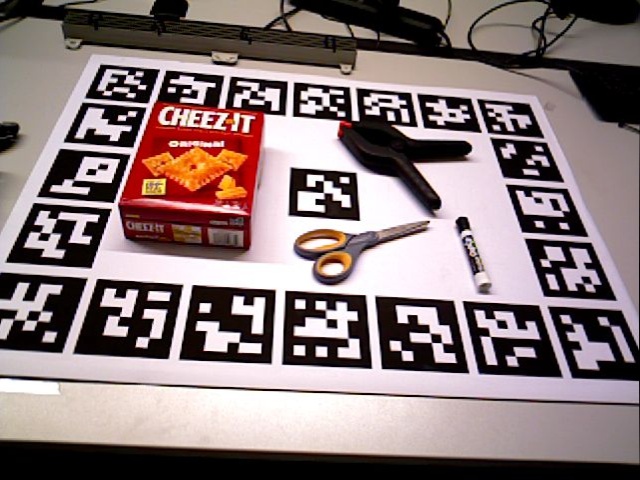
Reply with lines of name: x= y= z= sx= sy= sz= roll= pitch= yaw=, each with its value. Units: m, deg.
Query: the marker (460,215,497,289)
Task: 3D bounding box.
marker: x=0.209 y=0.013 z=0.723 sx=0.019 sy=0.020 sz=0.119 roll=0 pitch=49 yaw=-7

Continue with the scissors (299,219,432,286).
scissors: x=0.068 y=0.000 z=0.717 sx=0.199 sy=0.016 sz=0.087 roll=-18 pitch=53 yaw=-25

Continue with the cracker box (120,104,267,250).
cracker box: x=-0.160 y=-0.092 z=0.734 sx=0.163 sy=0.074 sz=0.210 roll=4 pitch=49 yaw=-4

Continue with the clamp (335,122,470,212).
clamp: x=0.114 y=-0.133 z=0.845 sx=0.203 sy=0.037 sz=0.161 roll=27 pitch=50 yaw=15
